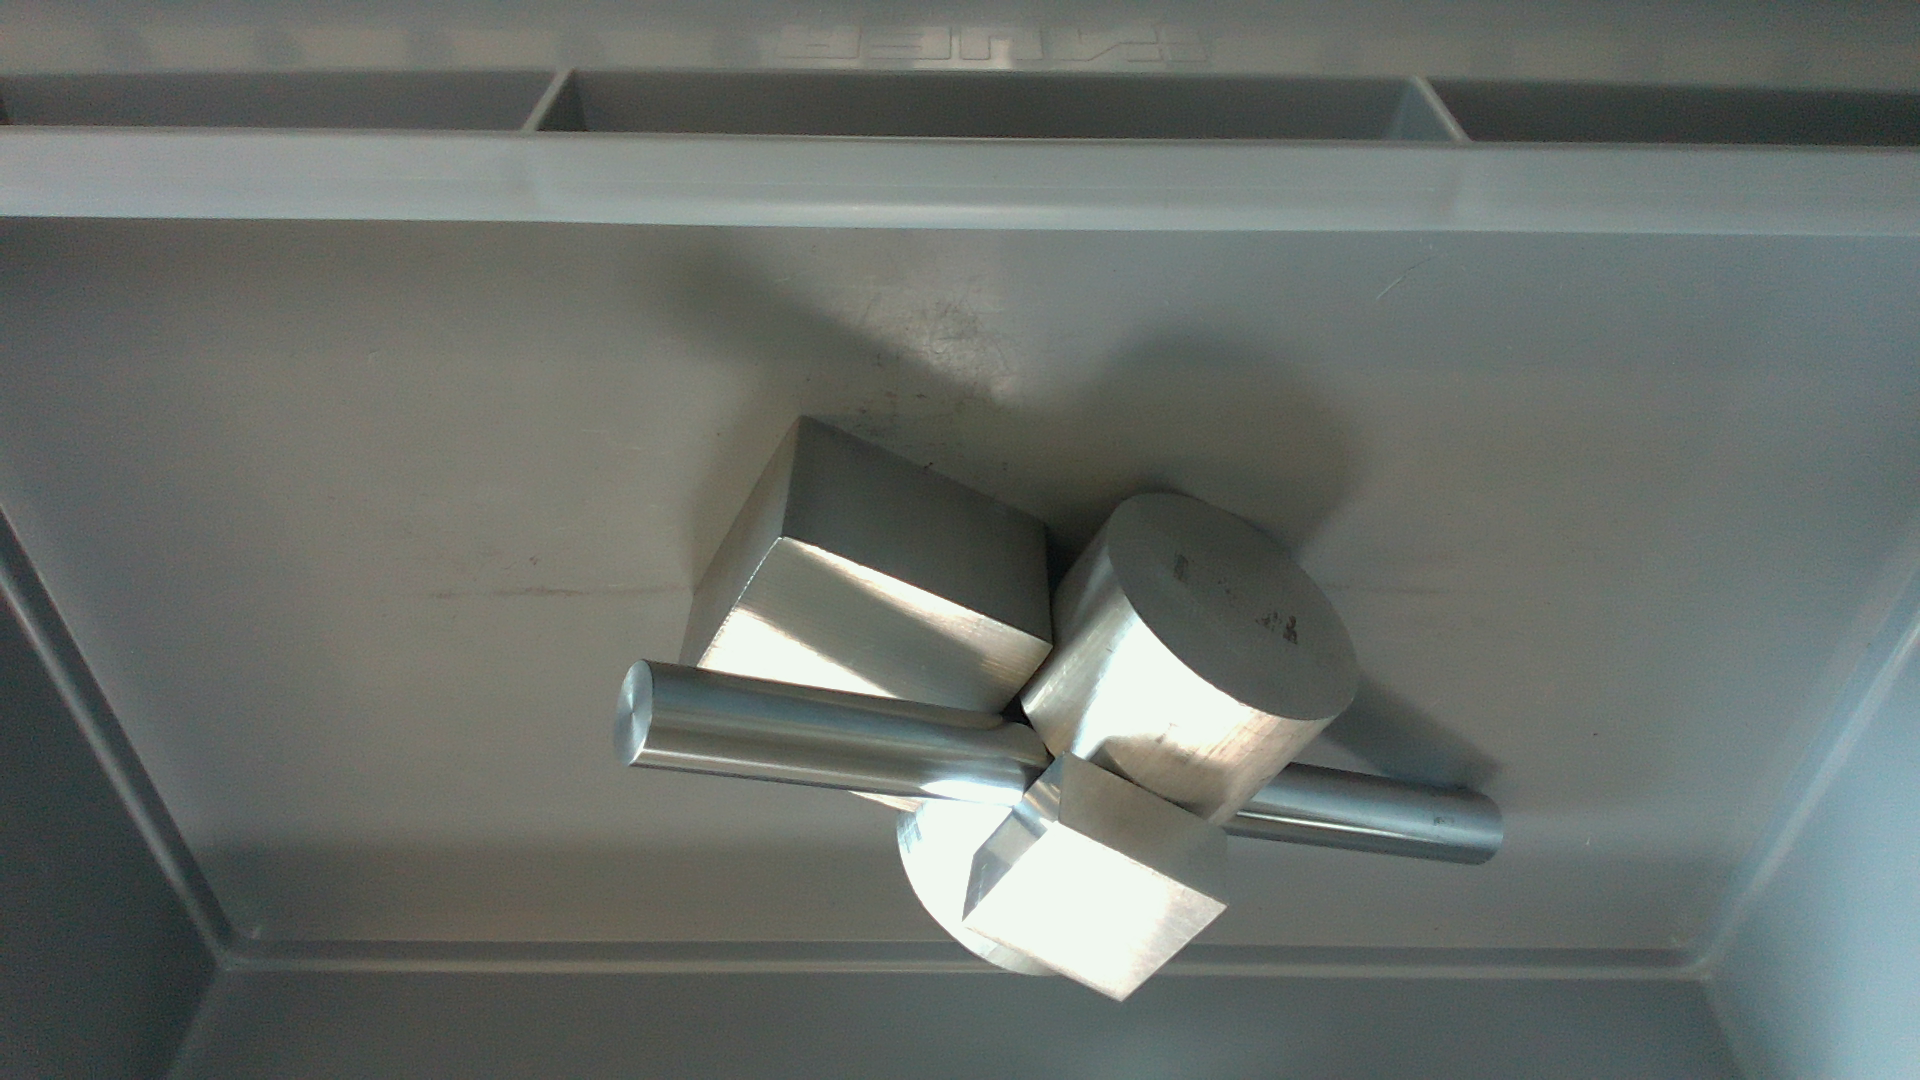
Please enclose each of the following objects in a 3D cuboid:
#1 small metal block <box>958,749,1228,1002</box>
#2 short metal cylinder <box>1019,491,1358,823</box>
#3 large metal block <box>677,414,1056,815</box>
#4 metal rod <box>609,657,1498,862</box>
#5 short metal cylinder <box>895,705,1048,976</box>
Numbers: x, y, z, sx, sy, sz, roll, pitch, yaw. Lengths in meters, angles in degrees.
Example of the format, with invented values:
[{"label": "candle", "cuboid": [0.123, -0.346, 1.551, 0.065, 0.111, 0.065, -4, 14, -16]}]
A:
[{"label": "small metal block", "cuboid": [0.035, 0.089, 0.361, 0.050, 0.025, 0.050, 28, 125, -12]}, {"label": "short metal cylinder", "cuboid": [0.062, 0.033, 0.382, 0.080, 0.080, 0.050, 22, 127, -18]}, {"label": "large metal block", "cuboid": [-0.029, 0.024, 0.390, 0.080, 0.050, 0.080, 23, 126, -19]}, {"label": "metal rod", "cuboid": [0.049, 0.069, 0.396, 0.301, 0.025, 0.025, 13, 131, -31]}, {"label": "short metal cylinder", "cuboid": [0.027, 0.086, 0.425, 0.080, 0.080, 0.050, 24, 126, -19]}]
